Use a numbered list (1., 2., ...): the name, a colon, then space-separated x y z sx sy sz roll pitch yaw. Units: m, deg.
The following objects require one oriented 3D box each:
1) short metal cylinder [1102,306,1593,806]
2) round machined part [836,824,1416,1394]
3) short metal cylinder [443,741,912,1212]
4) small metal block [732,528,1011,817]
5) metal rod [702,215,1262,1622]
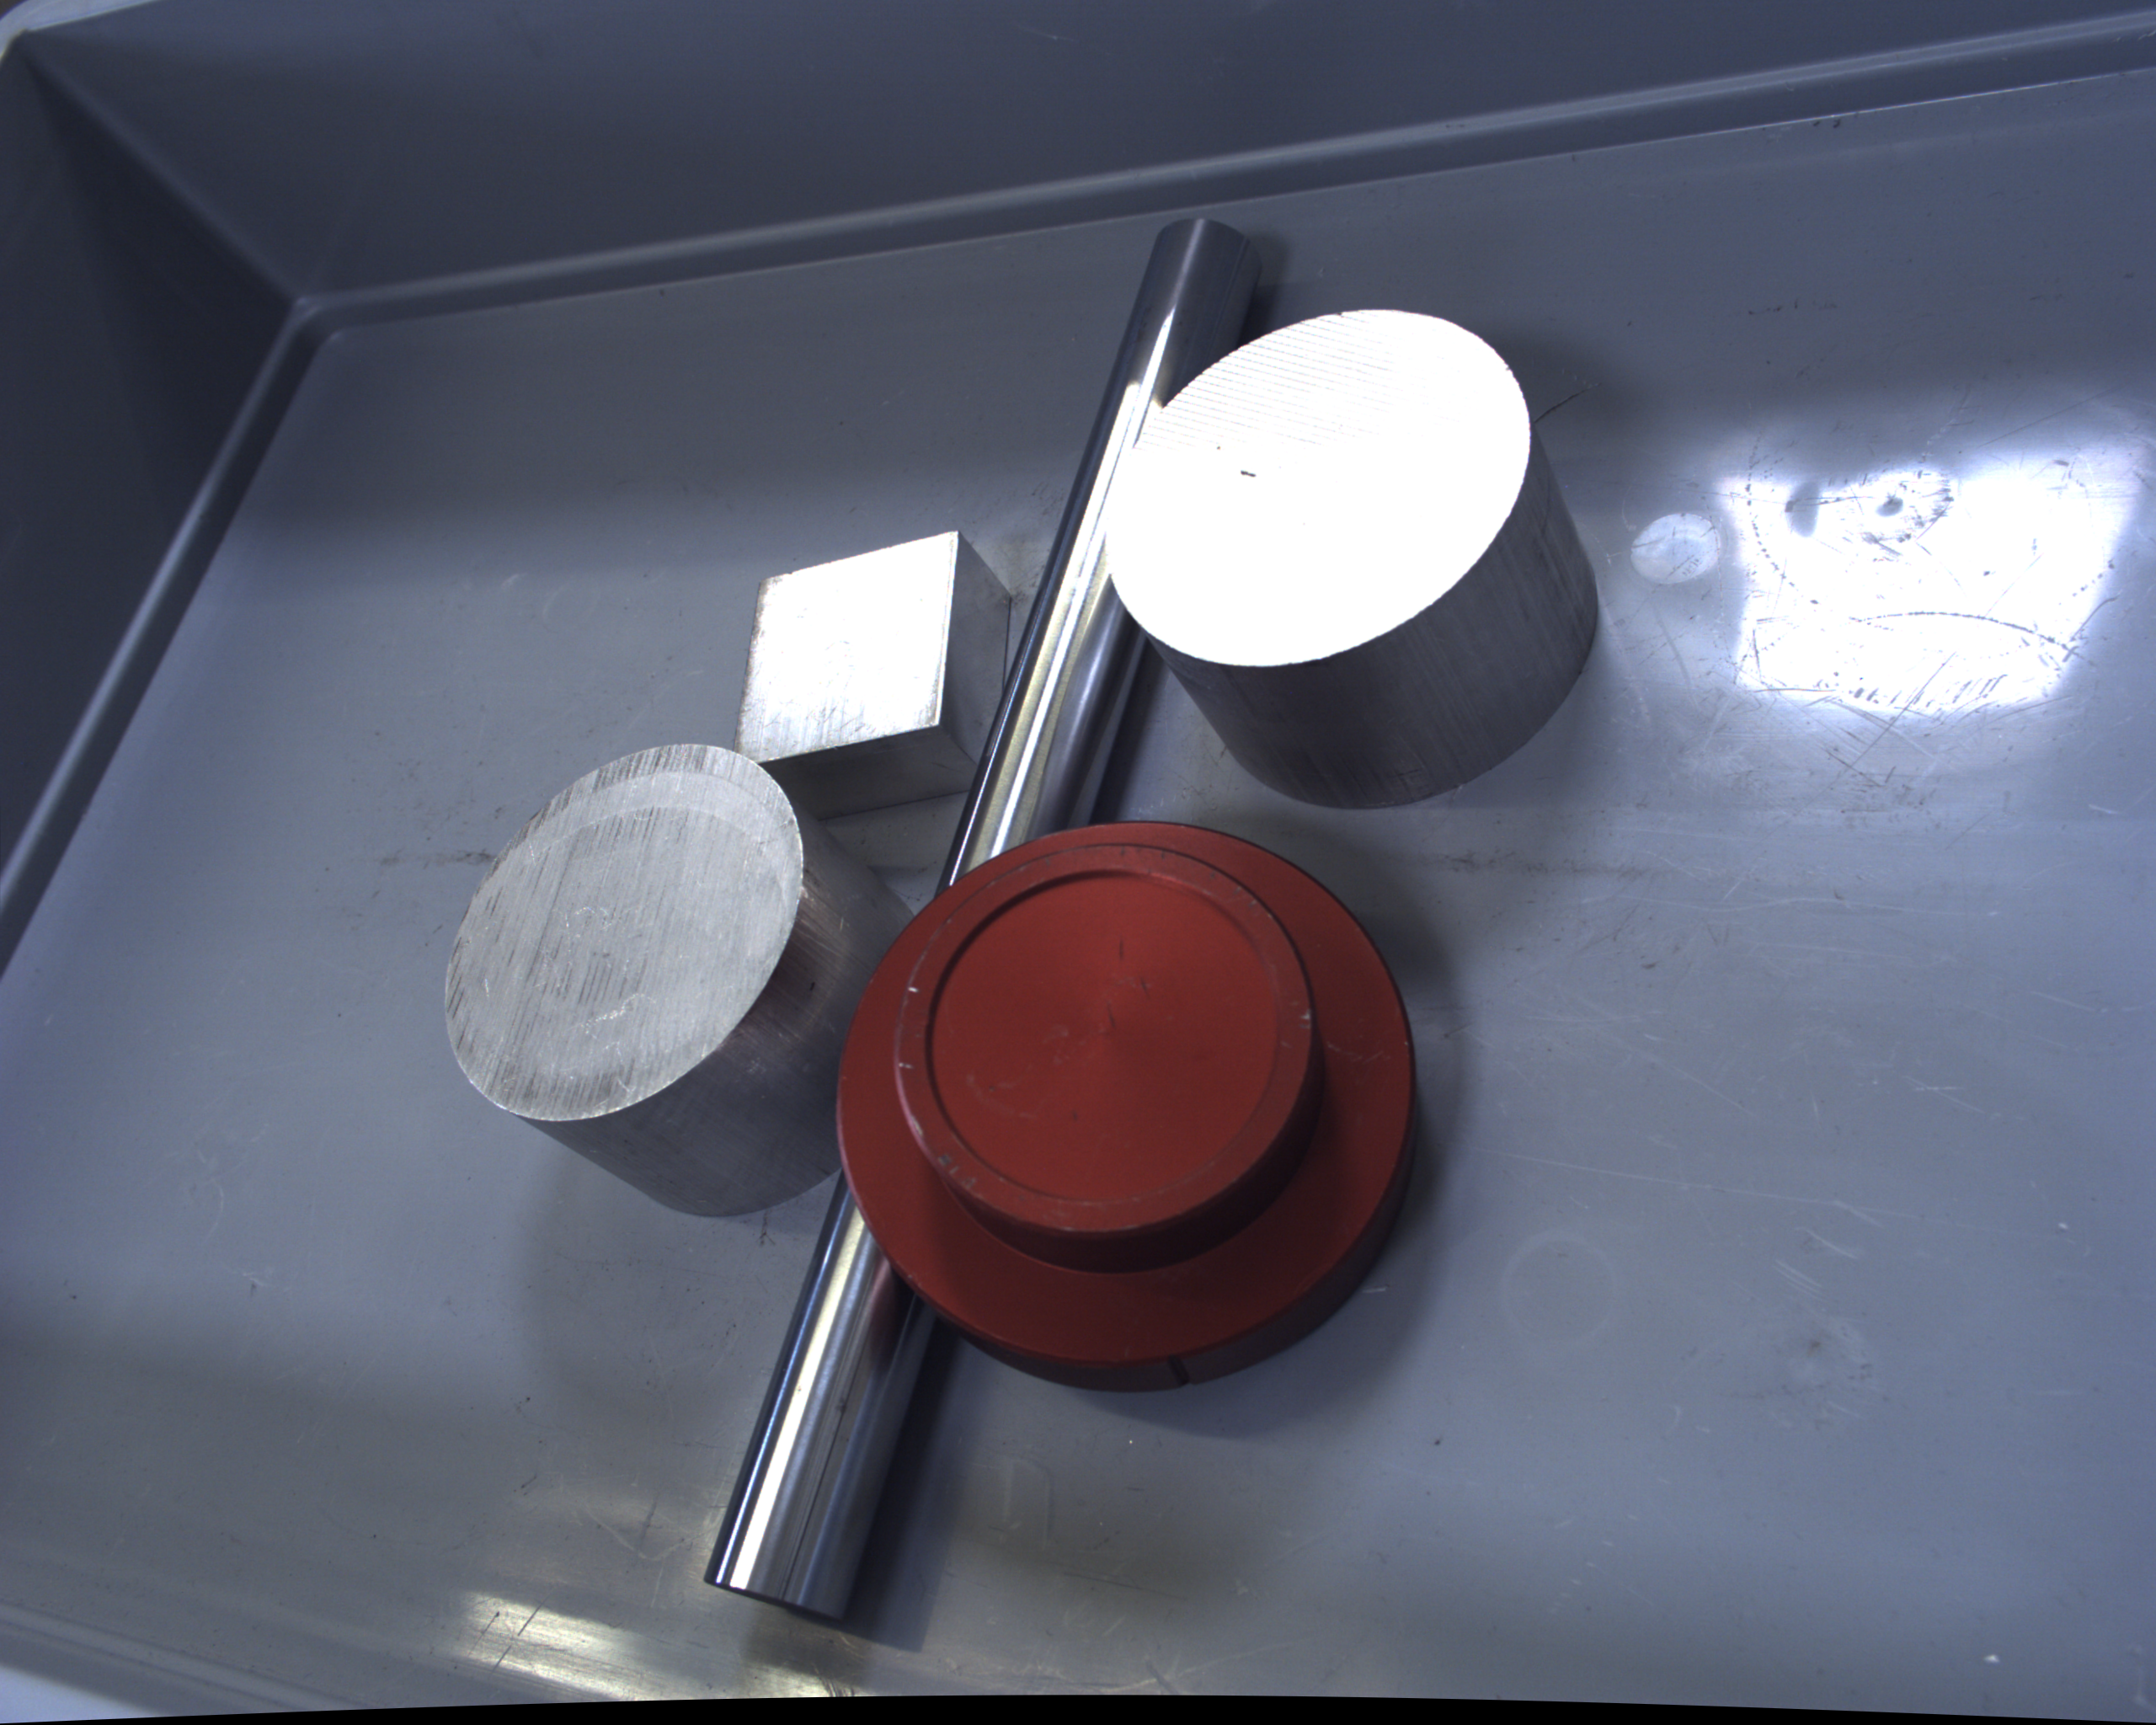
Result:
1. short metal cylinder: 0.051 -0.058 0.395 0.080 0.050 0.080 -13 56 21
2. round machined part: 0.007 0.036 0.351 0.098 0.042 0.098 -4 62 8
3. short metal cylinder: -0.076 0.023 0.413 0.080 0.050 0.080 -13 56 21
4. small metal block: -0.044 -0.040 0.450 0.050 0.025 0.050 -10 57 22
5. metal rod: -0.011 -0.006 0.413 0.025 0.025 0.300 3 63 29
